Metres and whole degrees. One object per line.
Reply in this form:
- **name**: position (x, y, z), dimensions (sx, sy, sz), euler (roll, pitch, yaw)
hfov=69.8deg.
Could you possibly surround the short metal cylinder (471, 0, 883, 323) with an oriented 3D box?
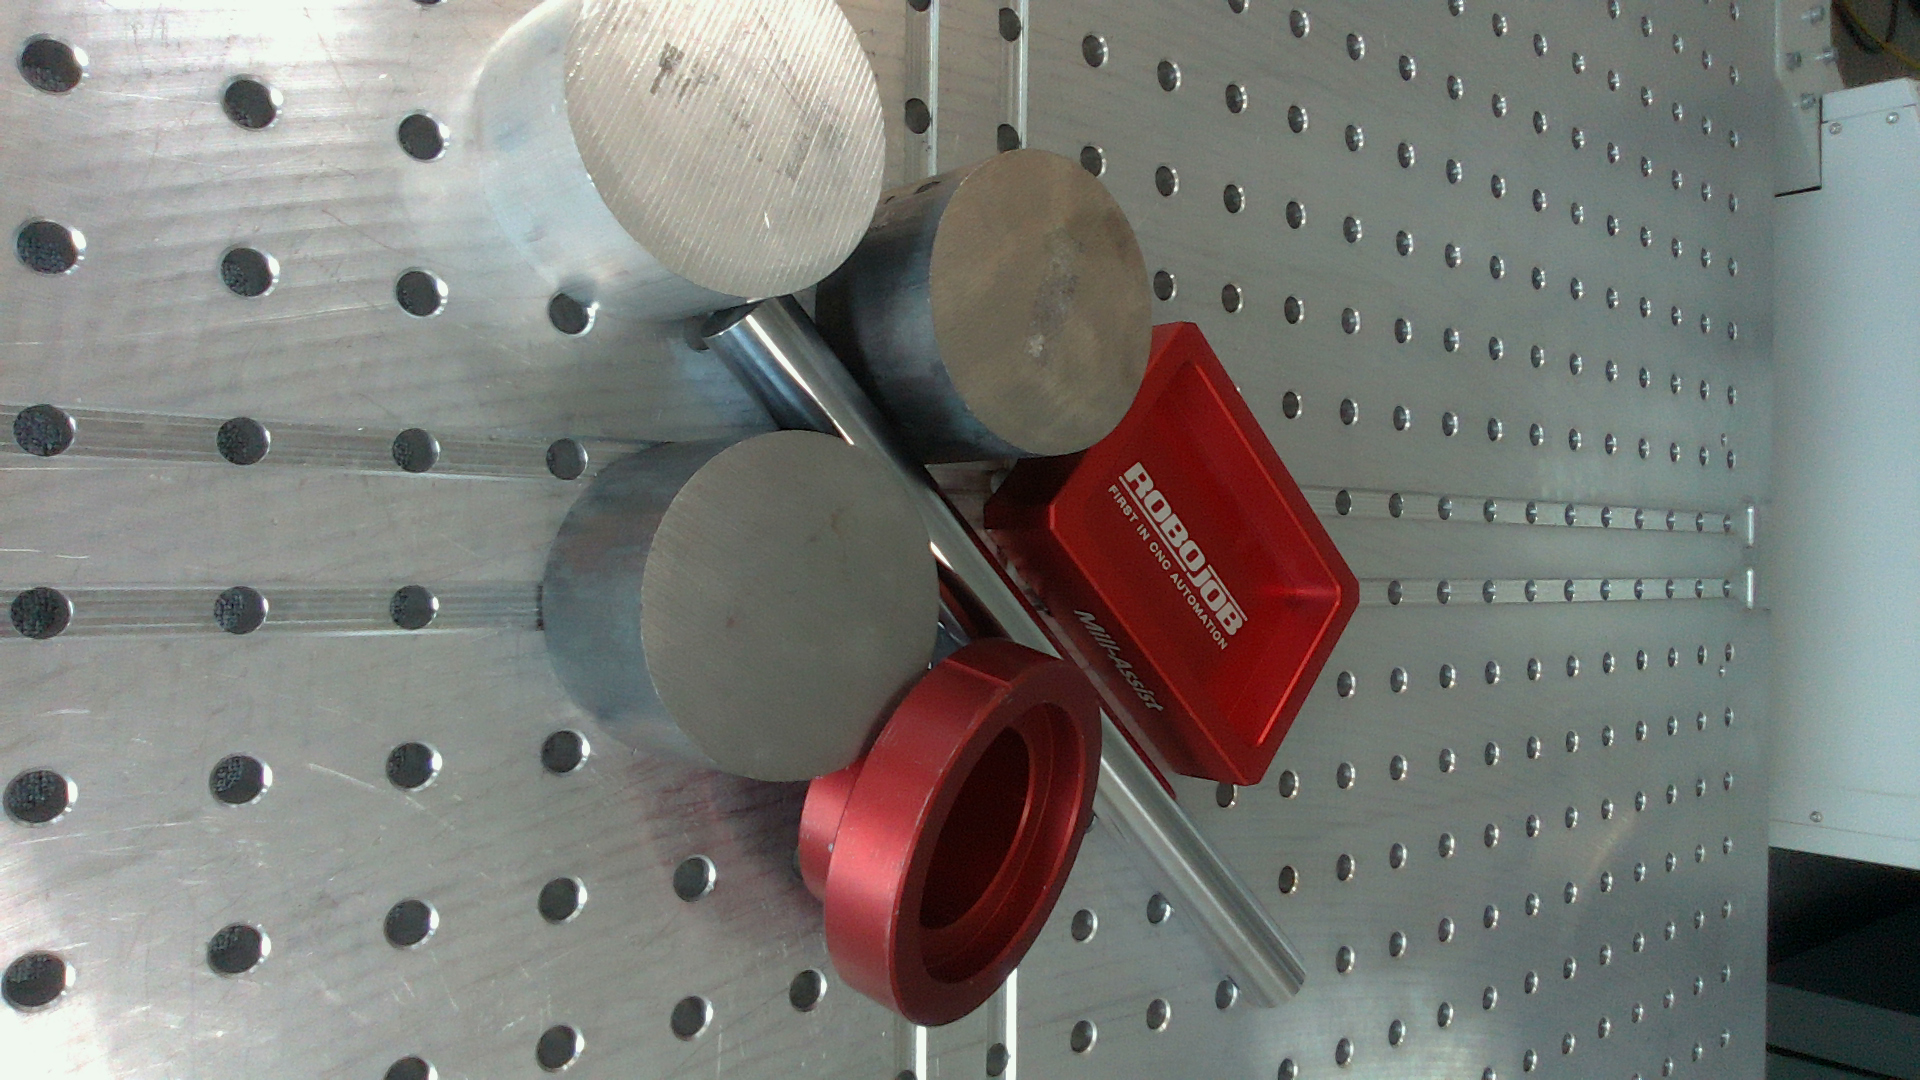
- **short metal cylinder**: position (-0.065, -0.094, 0.321), dimensions (0.080, 0.050, 0.080), euler (0, 90, -40)

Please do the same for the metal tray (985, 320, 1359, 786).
- **metal tray**: position (0.074, 0.006, 0.449), dimensions (0.130, 0.030, 0.090), euler (51, 61, -28)

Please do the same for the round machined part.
- **round machined part**: position (-0.006, 0.072, 0.362), dimensions (0.098, 0.042, 0.098), euler (-33, 132, -47)

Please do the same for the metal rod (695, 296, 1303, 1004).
- **metal rod**: position (0.026, 0.046, 0.414), dimensions (0.301, 0.025, 0.025), euler (52, 60, -27)

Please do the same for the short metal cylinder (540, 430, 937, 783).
- **short metal cylinder**: position (-0.052, 0.015, 0.332), dimensions (0.080, 0.050, 0.080), euler (0, 90, -40)

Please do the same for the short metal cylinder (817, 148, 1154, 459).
- **short metal cylinder**: position (0.008, -0.062, 0.381), dimensions (0.080, 0.050, 0.080), euler (0, 90, -40)
